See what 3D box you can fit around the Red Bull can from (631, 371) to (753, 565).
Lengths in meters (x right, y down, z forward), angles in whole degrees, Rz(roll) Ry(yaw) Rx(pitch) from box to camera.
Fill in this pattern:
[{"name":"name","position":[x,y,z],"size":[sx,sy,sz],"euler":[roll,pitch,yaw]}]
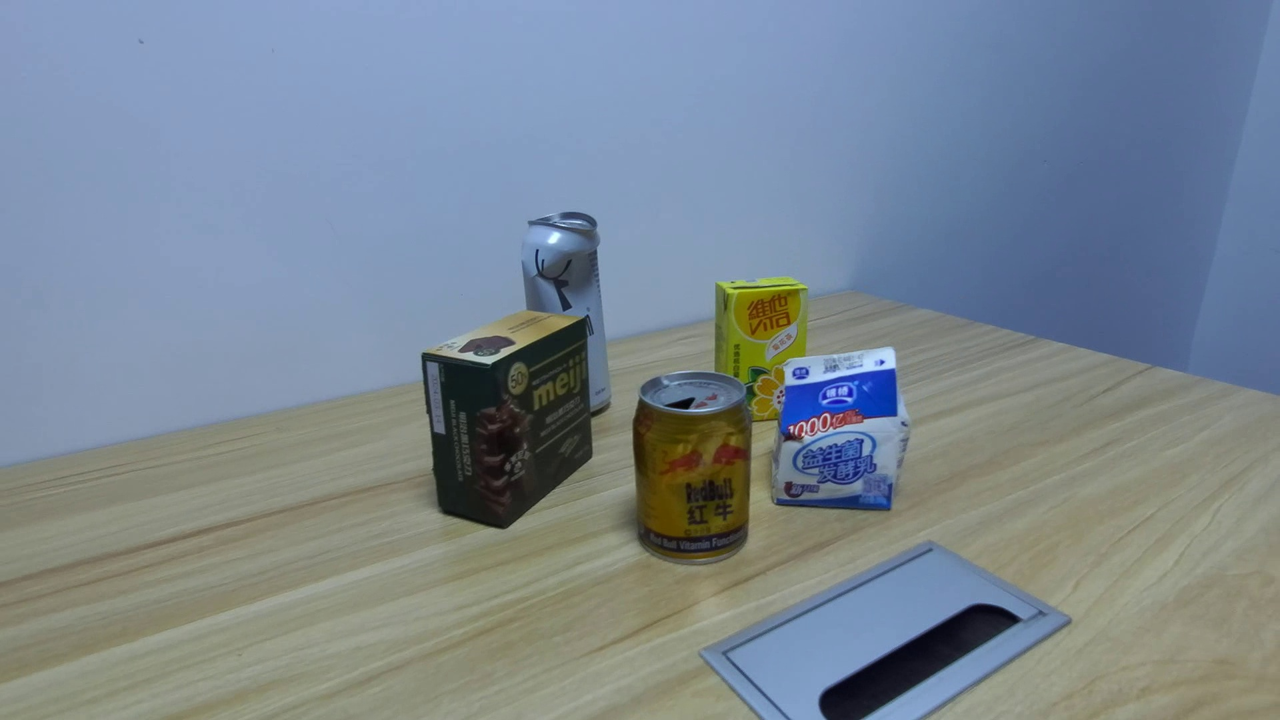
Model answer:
[{"name":"Red Bull can","position":[0.030,0.059,0.402],"size":[0.069,0.092,0.069],"euler":[-1,20,1]}]

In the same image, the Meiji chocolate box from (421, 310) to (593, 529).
[{"name":"Meiji chocolate box","position":[-0.082,0.034,0.468],"size":[0.056,0.109,0.110],"euler":[8,22,26]}]

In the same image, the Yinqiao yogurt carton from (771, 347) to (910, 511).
[{"name":"Yinqiao yogurt carton","position":[0.127,0.036,0.454],"size":[0.083,0.093,0.077],"euler":[1,21,9]}]

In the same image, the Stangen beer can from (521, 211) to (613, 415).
[{"name":"Stangen beer can","position":[-0.059,-0.034,0.578],"size":[0.066,0.162,0.077],"euler":[-6,19,-10]}]

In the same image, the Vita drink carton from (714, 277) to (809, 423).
[{"name":"Vita drink carton","position":[0.094,-0.007,0.561],"size":[0.067,0.109,0.043],"euler":[-4,17,-11]}]
